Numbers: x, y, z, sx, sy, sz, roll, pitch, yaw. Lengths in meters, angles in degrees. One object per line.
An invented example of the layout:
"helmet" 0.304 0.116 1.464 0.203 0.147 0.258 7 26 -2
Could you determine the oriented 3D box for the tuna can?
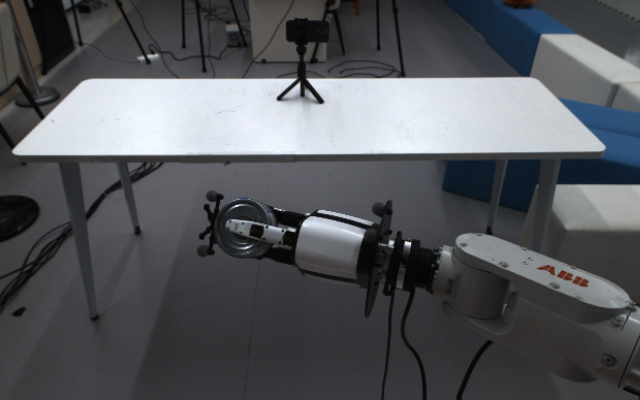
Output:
"tuna can" -0.102 0.040 0.685 0.085 0.085 0.034 9 -6 11
